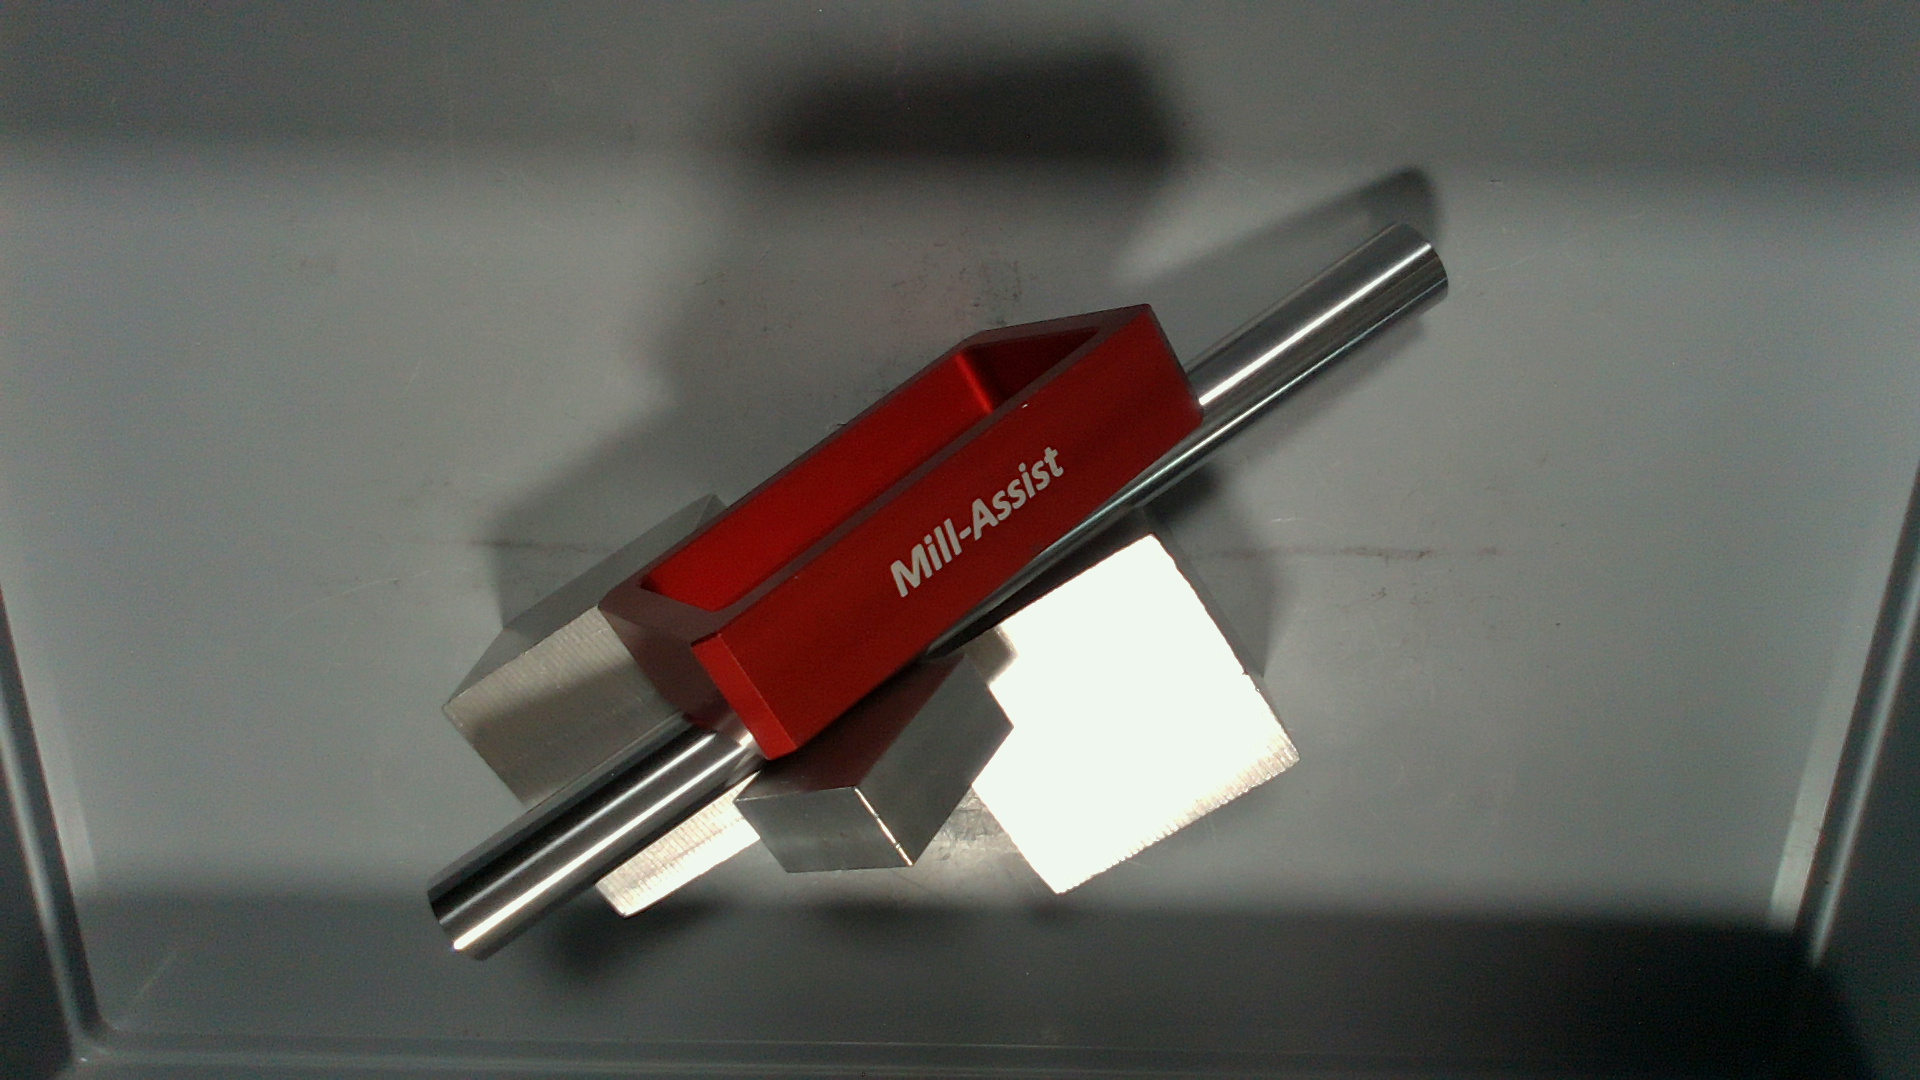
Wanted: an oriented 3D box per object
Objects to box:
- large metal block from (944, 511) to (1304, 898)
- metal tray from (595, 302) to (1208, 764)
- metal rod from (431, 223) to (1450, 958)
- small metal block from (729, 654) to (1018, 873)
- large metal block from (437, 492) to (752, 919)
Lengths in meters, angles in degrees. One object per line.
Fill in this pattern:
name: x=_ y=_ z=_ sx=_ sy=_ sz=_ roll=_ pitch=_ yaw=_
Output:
large metal block: x=0.039 y=0.041 z=0.395 sx=0.080 sy=0.050 sz=0.080 roll=-32 pitch=107 yaw=11
metal tray: x=-0.016 y=-0.007 z=0.327 sx=0.130 sy=0.090 sz=0.030 roll=-38 pitch=110 yaw=-21
metal rod: x=-0.001 y=0.010 z=0.357 sx=0.300 sy=0.025 sz=0.025 roll=-34 pitch=107 yaw=-4
small metal block: x=-0.022 y=0.057 z=0.349 sx=0.050 sy=0.050 sz=0.025 roll=-15 pitch=114 yaw=45
large metal block: x=-0.084 y=0.047 z=0.394 sx=0.080 sy=0.050 sz=0.080 roll=-32 pitch=107 yaw=11
